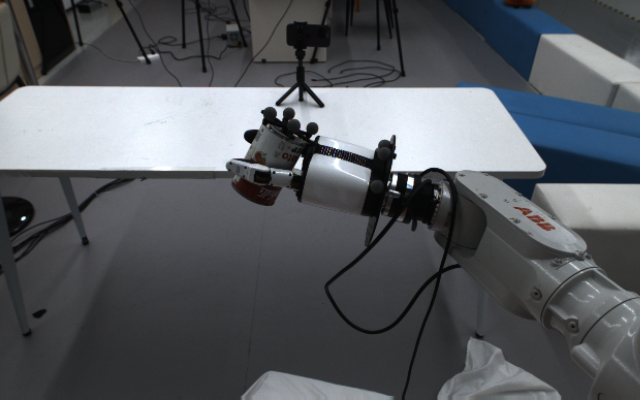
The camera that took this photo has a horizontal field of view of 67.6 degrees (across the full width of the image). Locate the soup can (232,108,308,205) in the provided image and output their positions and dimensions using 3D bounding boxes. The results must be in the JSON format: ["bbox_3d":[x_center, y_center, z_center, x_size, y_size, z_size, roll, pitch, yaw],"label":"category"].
[{"bbox_3d":[-0.070,-0.052,0.666,0.067,0.101,0.067,28,18,-10],"label":"soup can"}]
